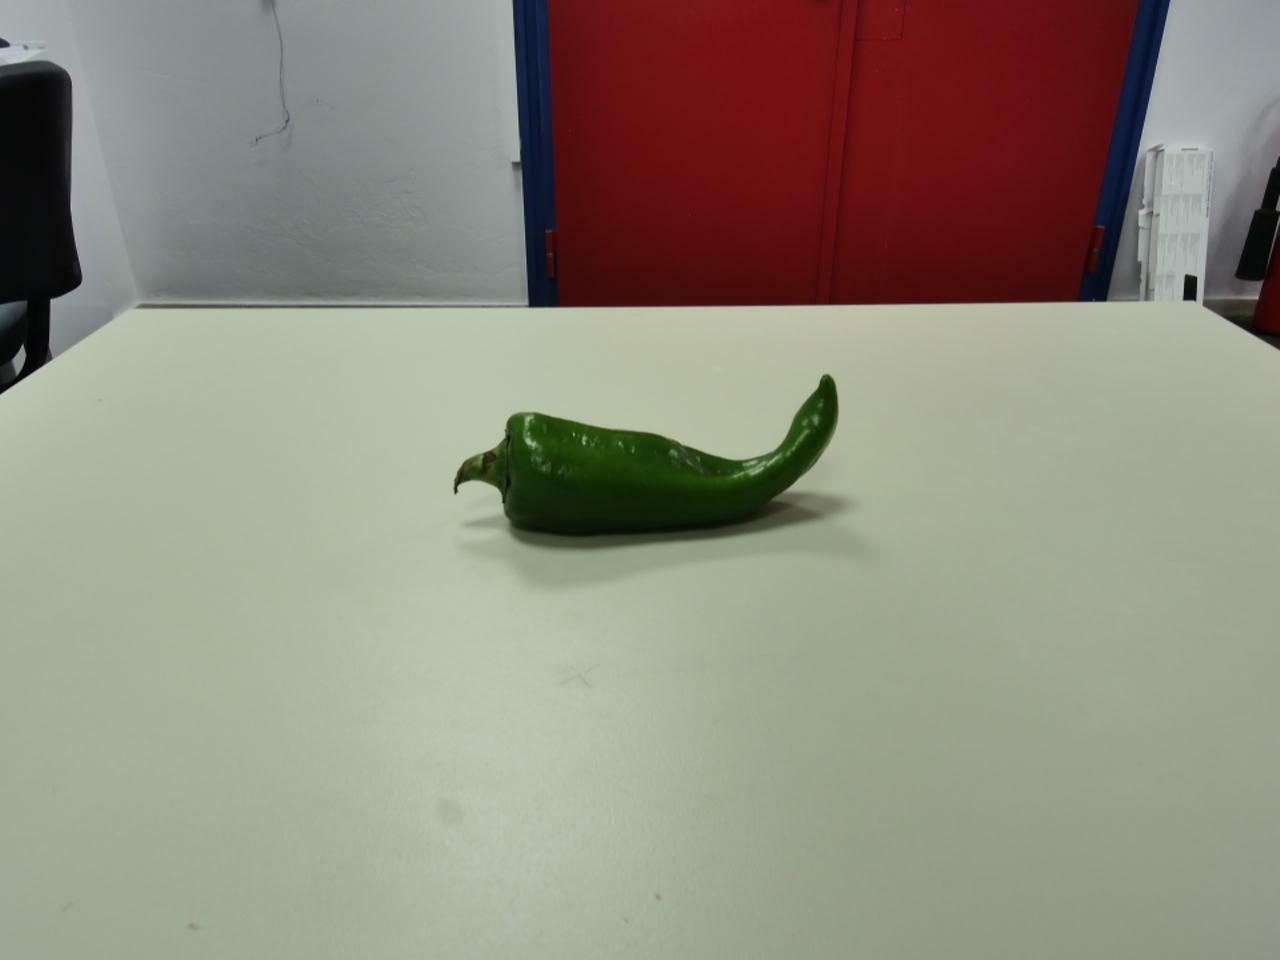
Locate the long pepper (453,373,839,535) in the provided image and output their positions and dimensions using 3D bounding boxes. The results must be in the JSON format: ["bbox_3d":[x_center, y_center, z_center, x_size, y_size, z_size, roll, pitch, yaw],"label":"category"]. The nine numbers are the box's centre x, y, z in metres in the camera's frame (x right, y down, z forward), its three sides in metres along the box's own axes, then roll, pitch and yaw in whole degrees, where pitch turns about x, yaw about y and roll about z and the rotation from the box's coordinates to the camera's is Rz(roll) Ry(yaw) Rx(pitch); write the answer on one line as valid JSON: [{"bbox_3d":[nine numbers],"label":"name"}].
[{"bbox_3d":[0.003,-0.012,0.450,0.175,0.065,0.058,-1,24,-2],"label":"long pepper"}]
